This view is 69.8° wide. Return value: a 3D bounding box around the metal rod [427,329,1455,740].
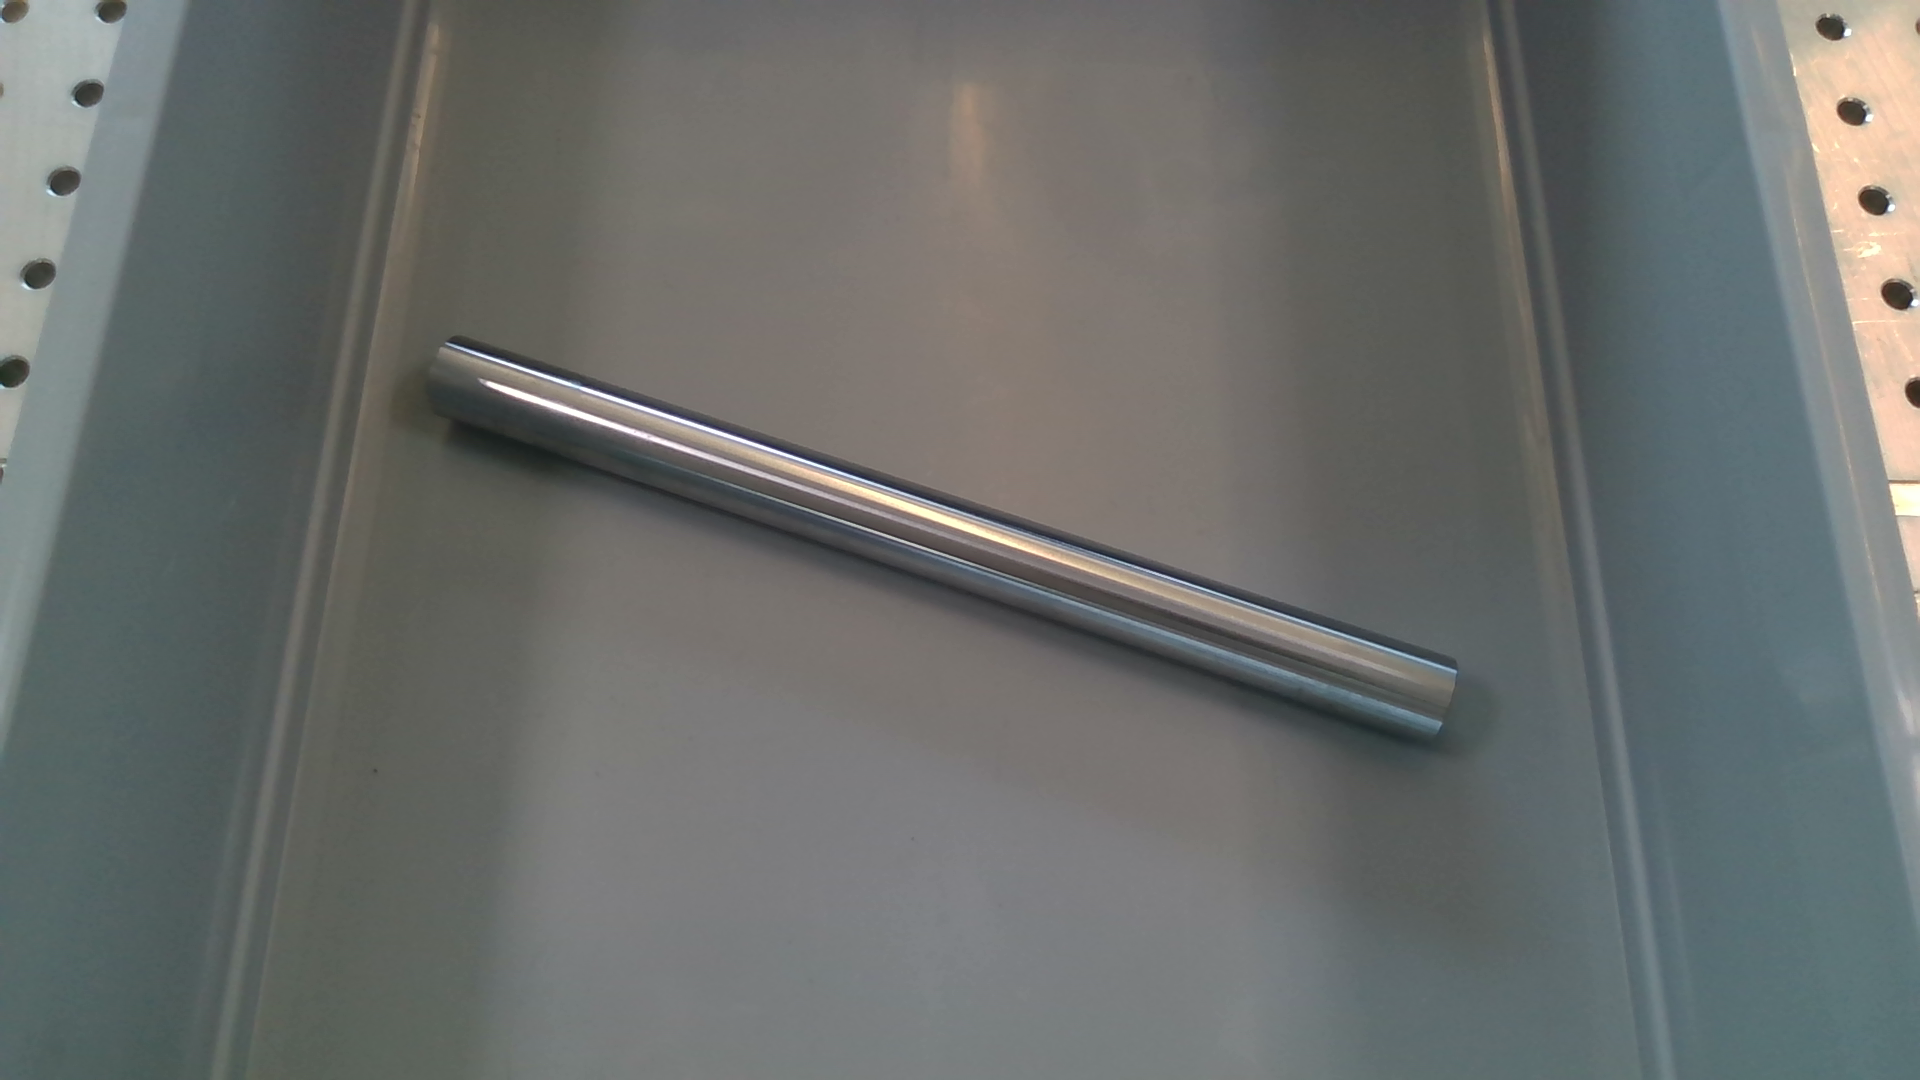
[{"bbox_3d":[-0.011,-0.004,0.395,0.300,0.025,0.025,18,71,6],"label":"metal rod"}]
